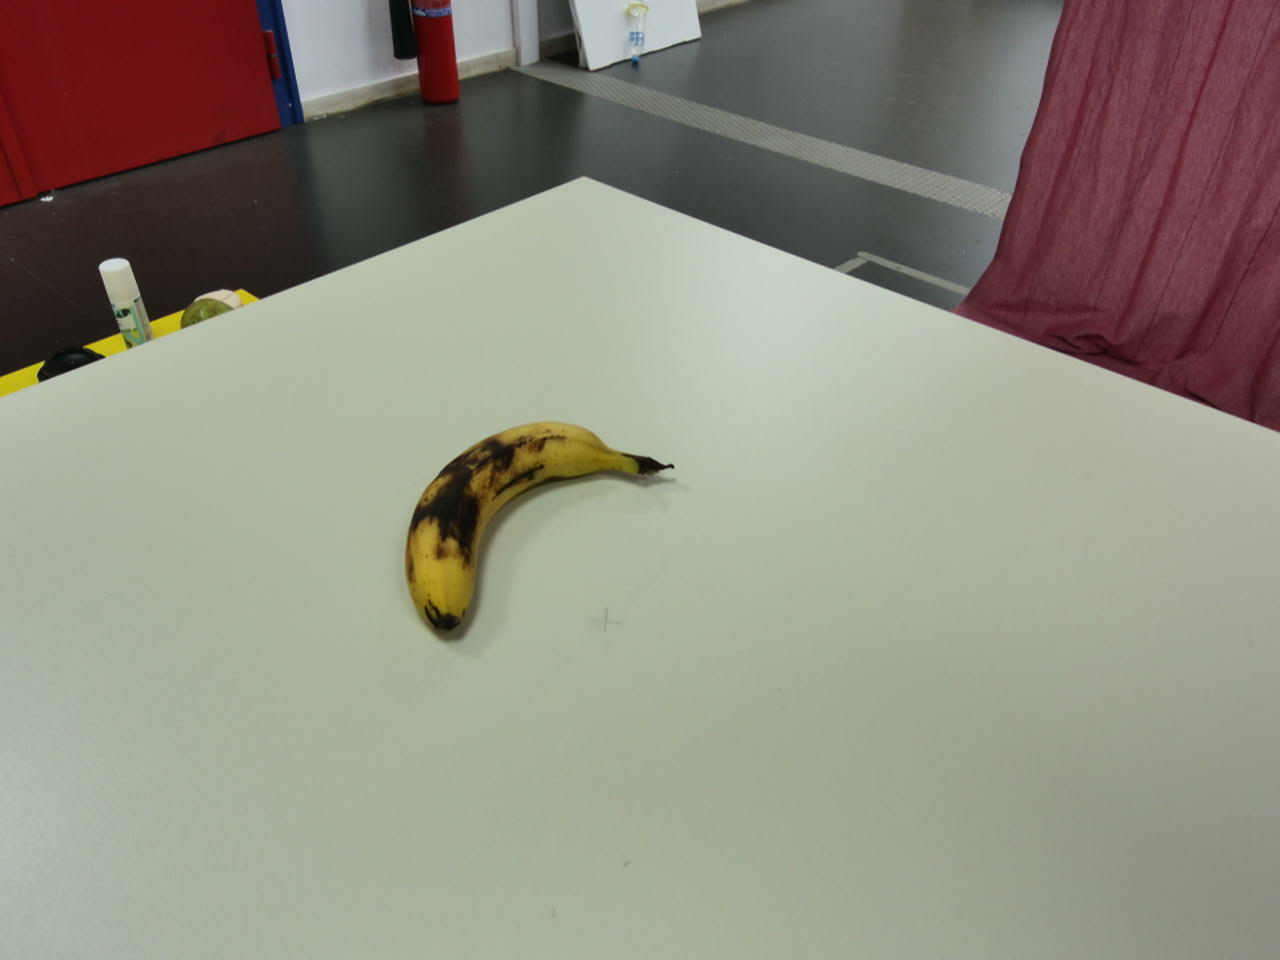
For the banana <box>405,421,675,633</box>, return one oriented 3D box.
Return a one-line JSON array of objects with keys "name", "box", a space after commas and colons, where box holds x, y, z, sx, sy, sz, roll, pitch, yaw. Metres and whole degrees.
[{"name": "banana", "box": [-0.076, 0.012, 0.582, 0.094, 0.039, 0.187, 27, 44, 30]}]
